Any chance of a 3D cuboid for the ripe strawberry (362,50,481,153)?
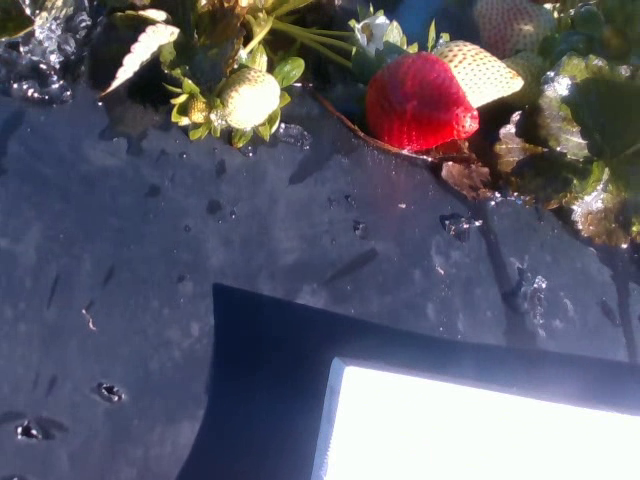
[{"bbox_3d":[0.040,-0.047,0.205,0.040,0.042,0.053,-24,33,-12],"label":"ripe strawberry"}]
